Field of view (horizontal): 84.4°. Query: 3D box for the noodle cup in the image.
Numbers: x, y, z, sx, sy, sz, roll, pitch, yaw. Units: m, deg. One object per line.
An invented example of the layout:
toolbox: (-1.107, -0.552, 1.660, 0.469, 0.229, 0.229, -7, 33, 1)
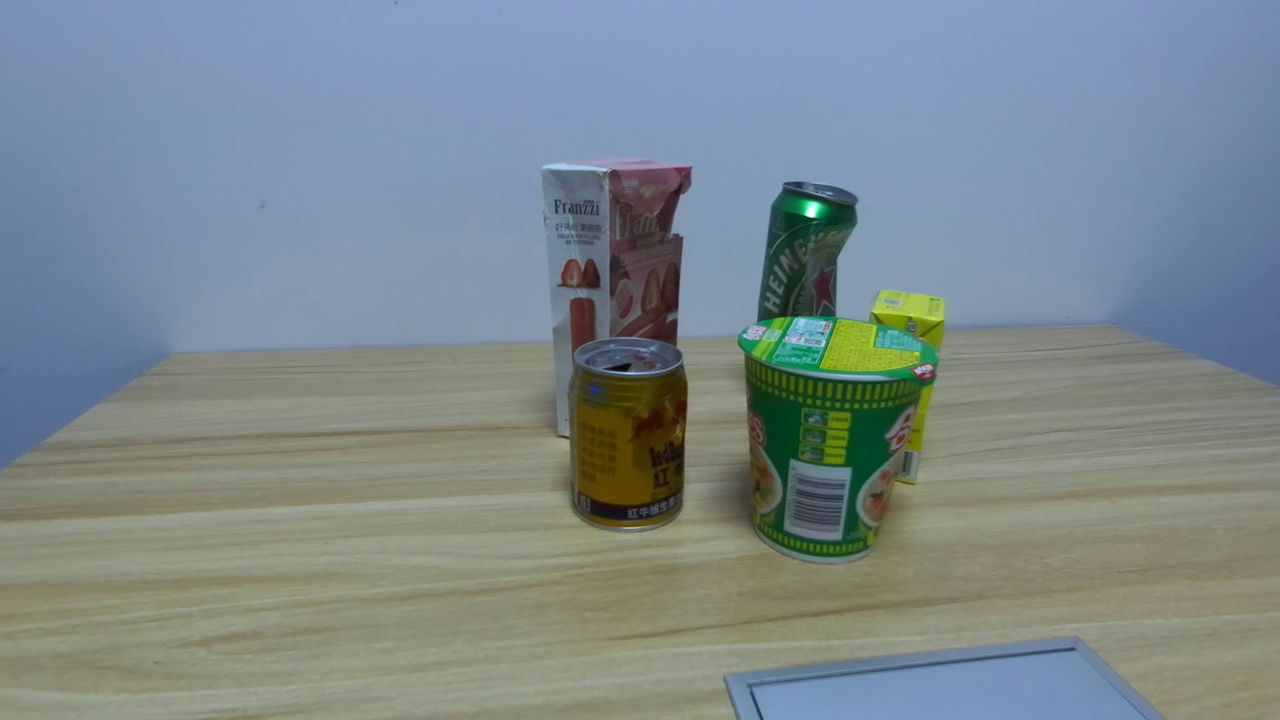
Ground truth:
noodle cup: (0.096, 0.042, 0.369, 0.097, 0.110, 0.097, 1, 19, 0)

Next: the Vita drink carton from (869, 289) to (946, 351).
Vita drink carton: (0.166, 0.014, 0.457, 0.043, 0.109, 0.076, 9, 21, 21)

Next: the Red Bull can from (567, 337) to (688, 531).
Red Bull can: (-0.006, 0.040, 0.398, 0.068, 0.093, 0.068, 1, 19, 0)

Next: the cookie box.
cookie box: (-0.016, -0.042, 0.490, 0.059, 0.186, 0.105, 15, 24, 29)
